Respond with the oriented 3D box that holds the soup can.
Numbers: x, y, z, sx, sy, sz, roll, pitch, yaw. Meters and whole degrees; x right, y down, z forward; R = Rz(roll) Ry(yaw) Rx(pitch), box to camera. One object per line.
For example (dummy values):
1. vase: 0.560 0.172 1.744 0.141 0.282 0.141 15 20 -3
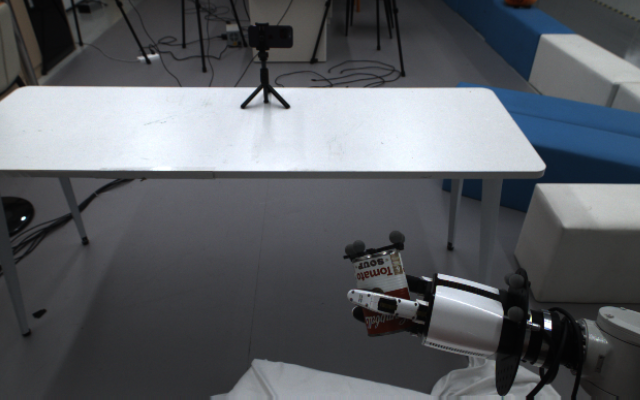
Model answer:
1. soup can: 0.087 0.122 0.642 0.067 0.067 0.101 -10 80 -16
